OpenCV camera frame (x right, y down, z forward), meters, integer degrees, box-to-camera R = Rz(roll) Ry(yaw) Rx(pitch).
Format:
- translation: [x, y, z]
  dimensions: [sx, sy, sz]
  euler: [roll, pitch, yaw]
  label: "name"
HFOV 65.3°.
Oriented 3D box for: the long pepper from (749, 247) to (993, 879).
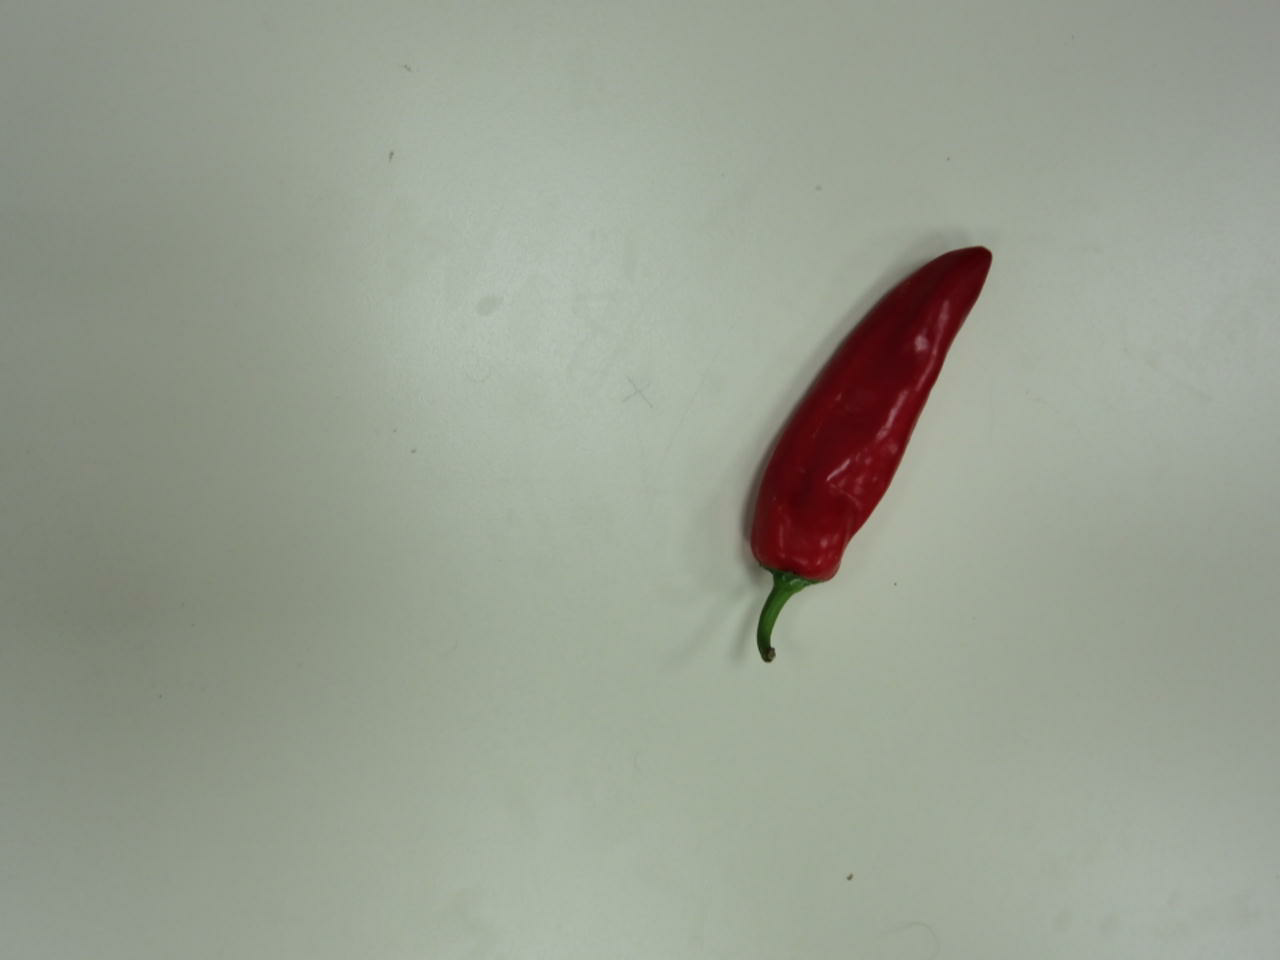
- translation: [0.094, -0.019, 0.440]
  dimensions: [0.050, 0.043, 0.211]
  euler: [32, 84, -10]
  label: "long pepper"
